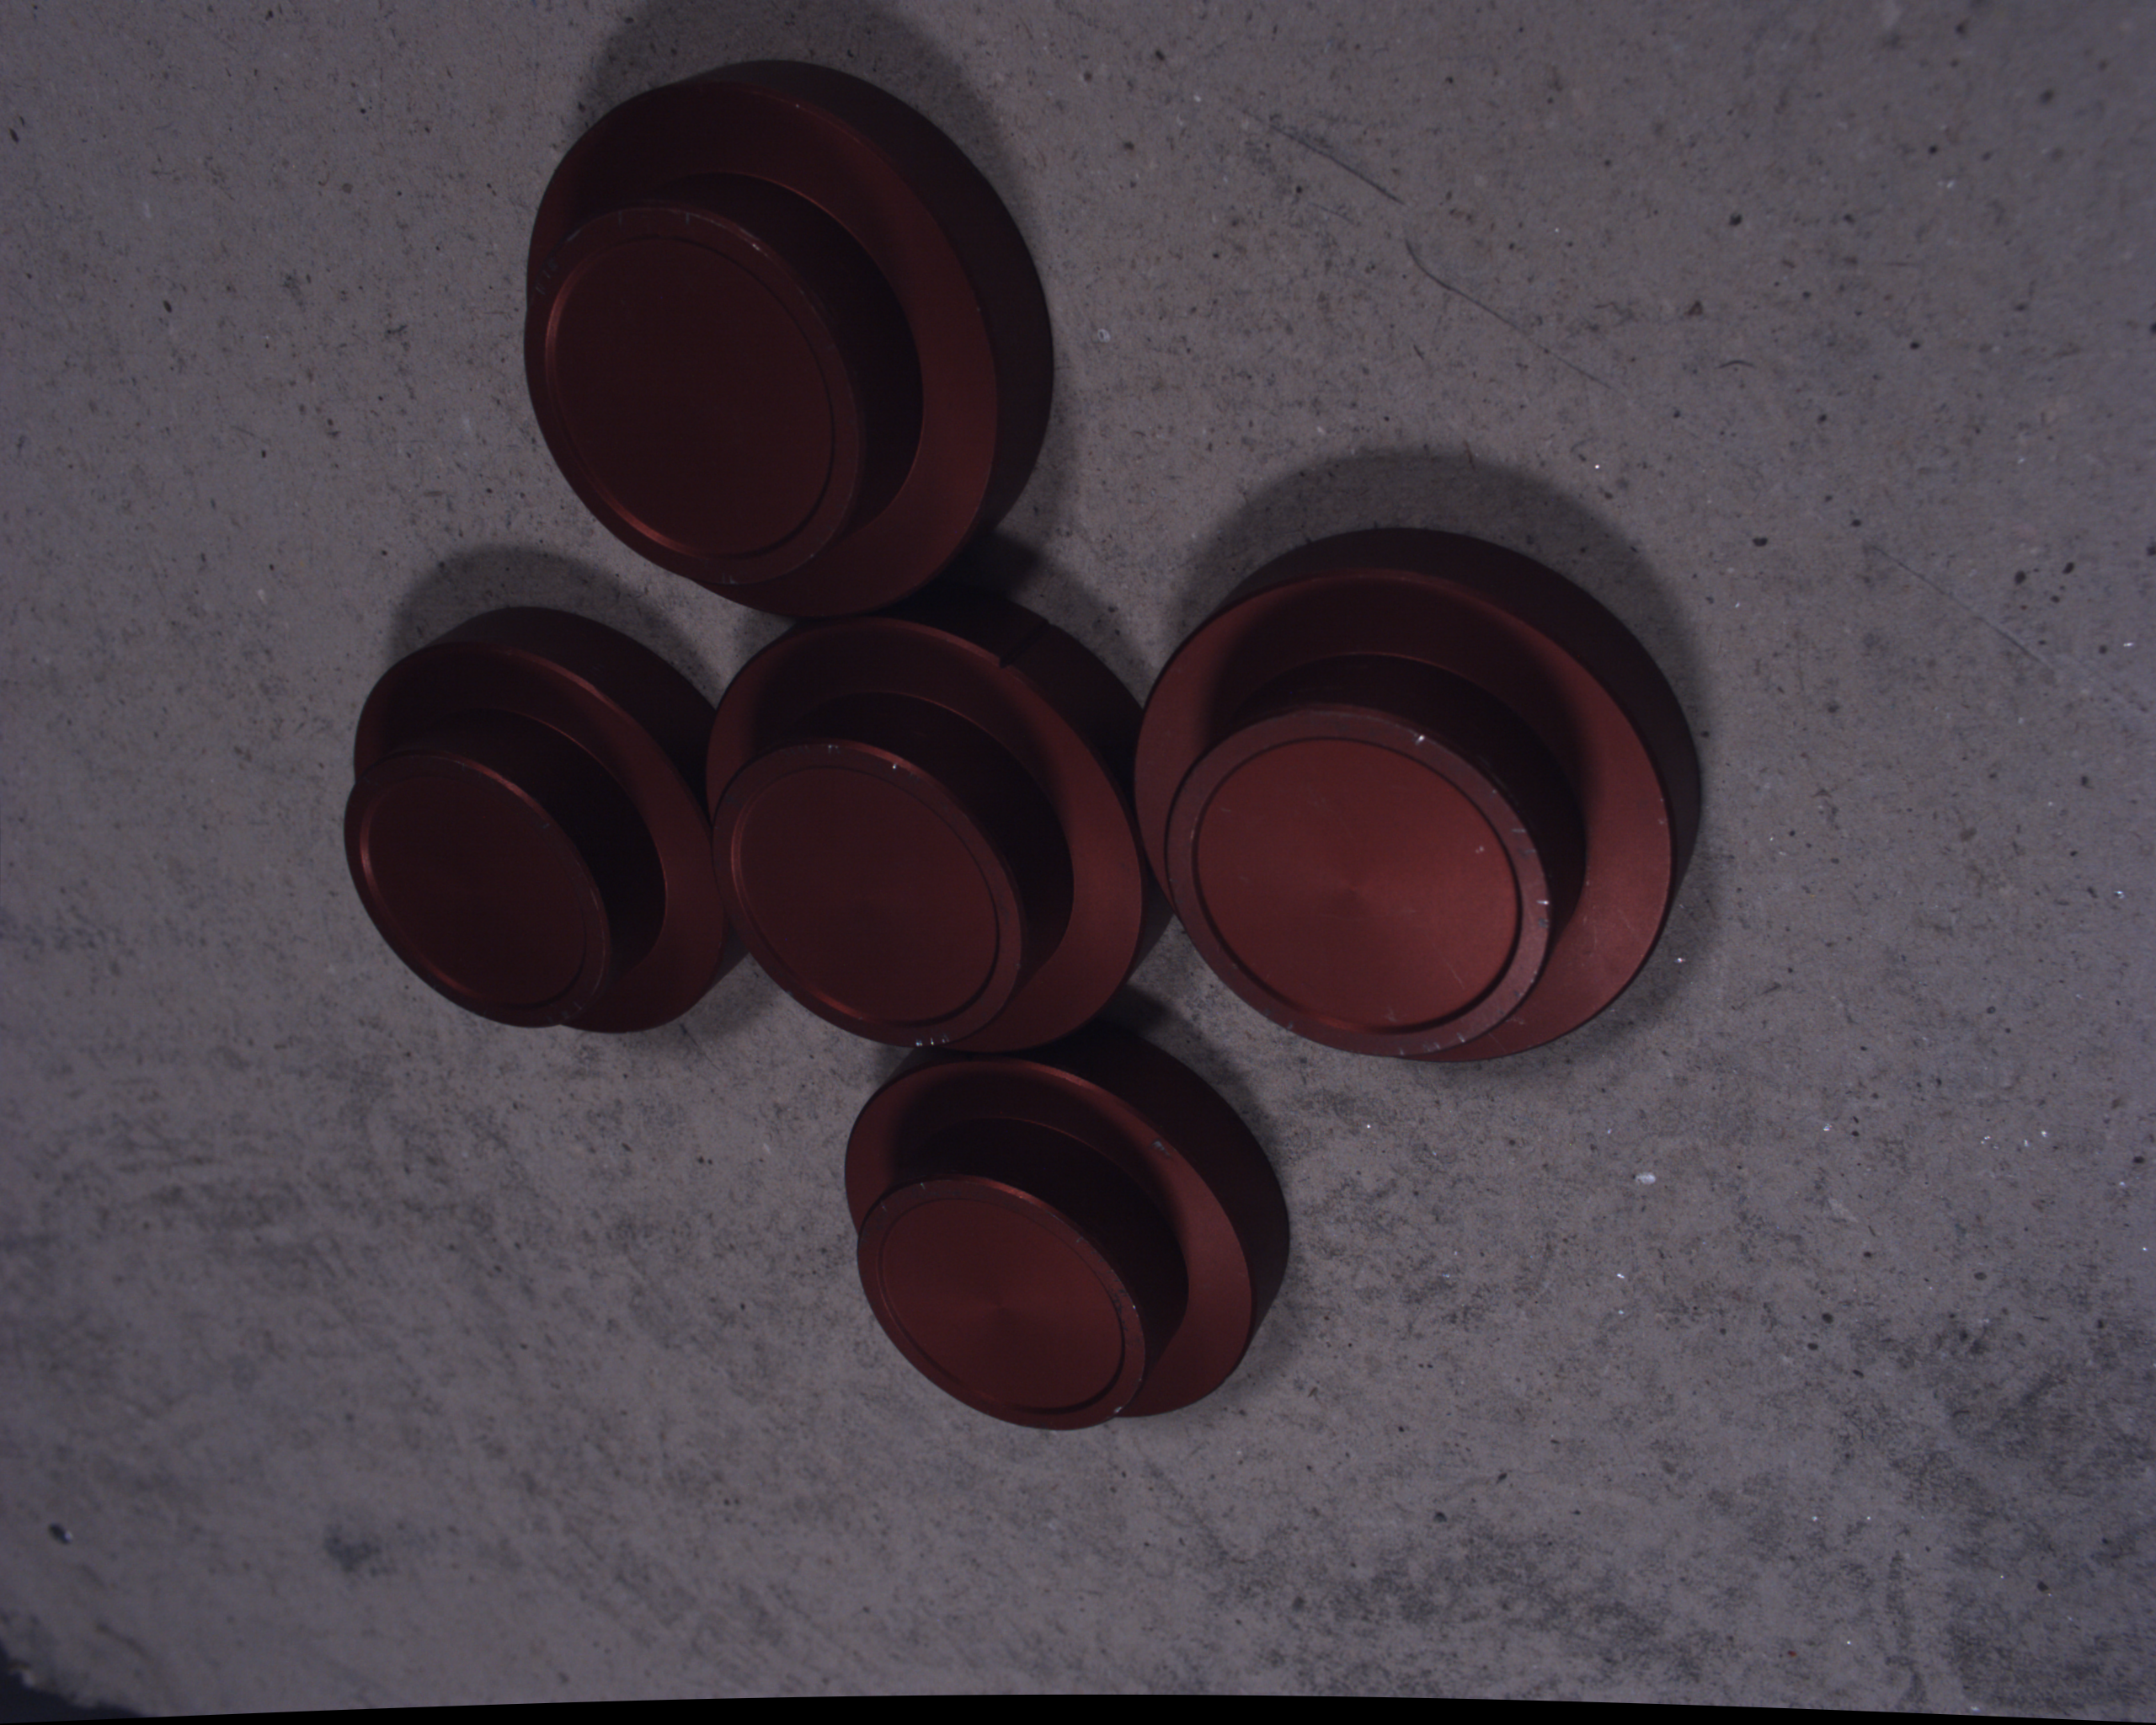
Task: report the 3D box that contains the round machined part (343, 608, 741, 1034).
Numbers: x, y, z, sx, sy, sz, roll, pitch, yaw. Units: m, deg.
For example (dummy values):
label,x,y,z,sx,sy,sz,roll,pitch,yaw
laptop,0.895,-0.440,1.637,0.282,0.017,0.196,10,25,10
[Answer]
label,x,y,z,sx,sy,sz,roll,pitch,yaw
round machined part,-0.119,-0.003,0.456,0.098,0.042,0.097,13,124,20

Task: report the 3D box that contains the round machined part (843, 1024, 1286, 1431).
label,x,y,z,sx,sy,sz,roll,pitch,yaw
round machined part,-0.008,0.083,0.451,0.098,0.042,0.097,13,124,20

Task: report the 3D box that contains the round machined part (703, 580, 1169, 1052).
label,x,y,z,sx,sy,sz,roll,pitch,yaw
round machined part,-0.032,-0.003,0.411,0.098,0.042,0.097,13,124,20

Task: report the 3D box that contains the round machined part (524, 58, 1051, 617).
label,x,y,z,sx,sy,sz,roll,pitch,yaw
round machined part,-0.058,-0.089,0.372,0.098,0.042,0.097,13,124,20

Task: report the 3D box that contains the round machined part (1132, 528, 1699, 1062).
label,x,y,z,sx,sy,sz,roll,pitch,yaw
round machined part,0.054,-0.005,0.365,0.098,0.042,0.097,13,124,20
